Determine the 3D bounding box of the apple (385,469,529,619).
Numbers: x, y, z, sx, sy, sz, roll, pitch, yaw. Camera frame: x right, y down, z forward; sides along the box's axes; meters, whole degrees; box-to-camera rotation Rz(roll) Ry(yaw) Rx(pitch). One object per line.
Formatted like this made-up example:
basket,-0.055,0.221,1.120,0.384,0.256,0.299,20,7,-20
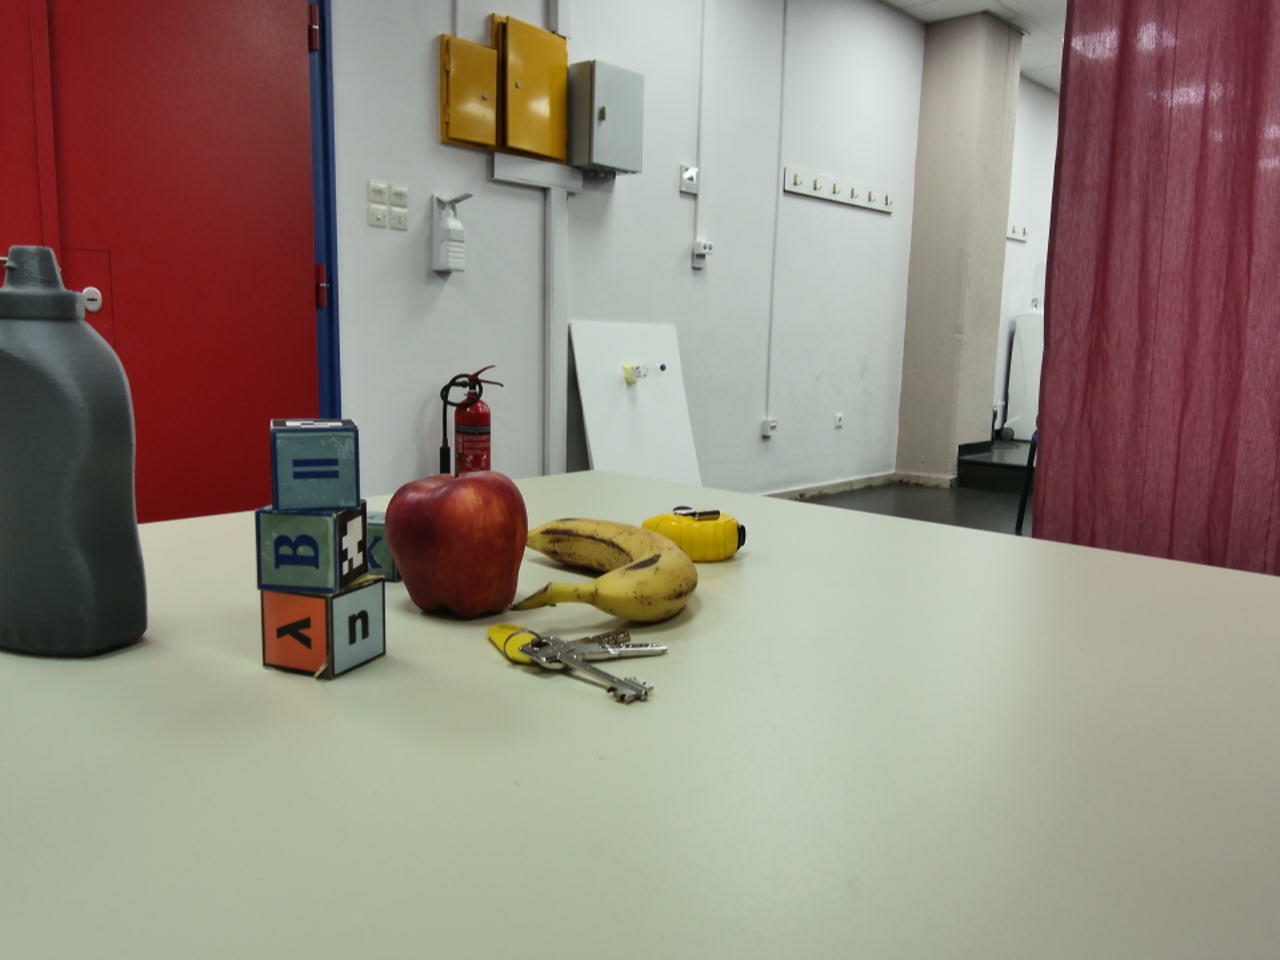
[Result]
apple,-0.103,0.030,0.571,0.083,0.090,0.083,2,7,0
